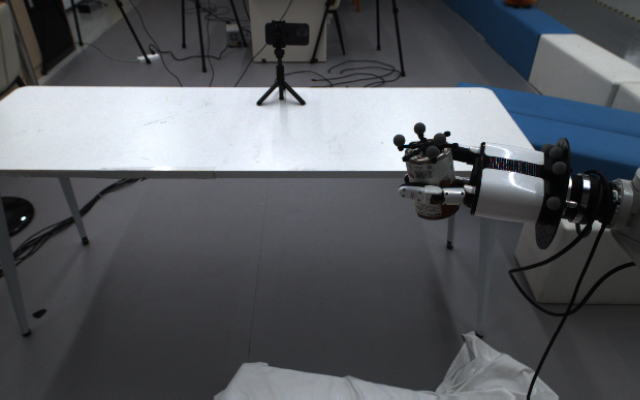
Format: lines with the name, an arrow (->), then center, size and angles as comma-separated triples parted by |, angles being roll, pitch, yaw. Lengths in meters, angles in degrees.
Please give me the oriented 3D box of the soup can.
soup can -> 0.167, -0.031, 0.715 | 0.067, 0.101, 0.067 | -13, 31, 8
